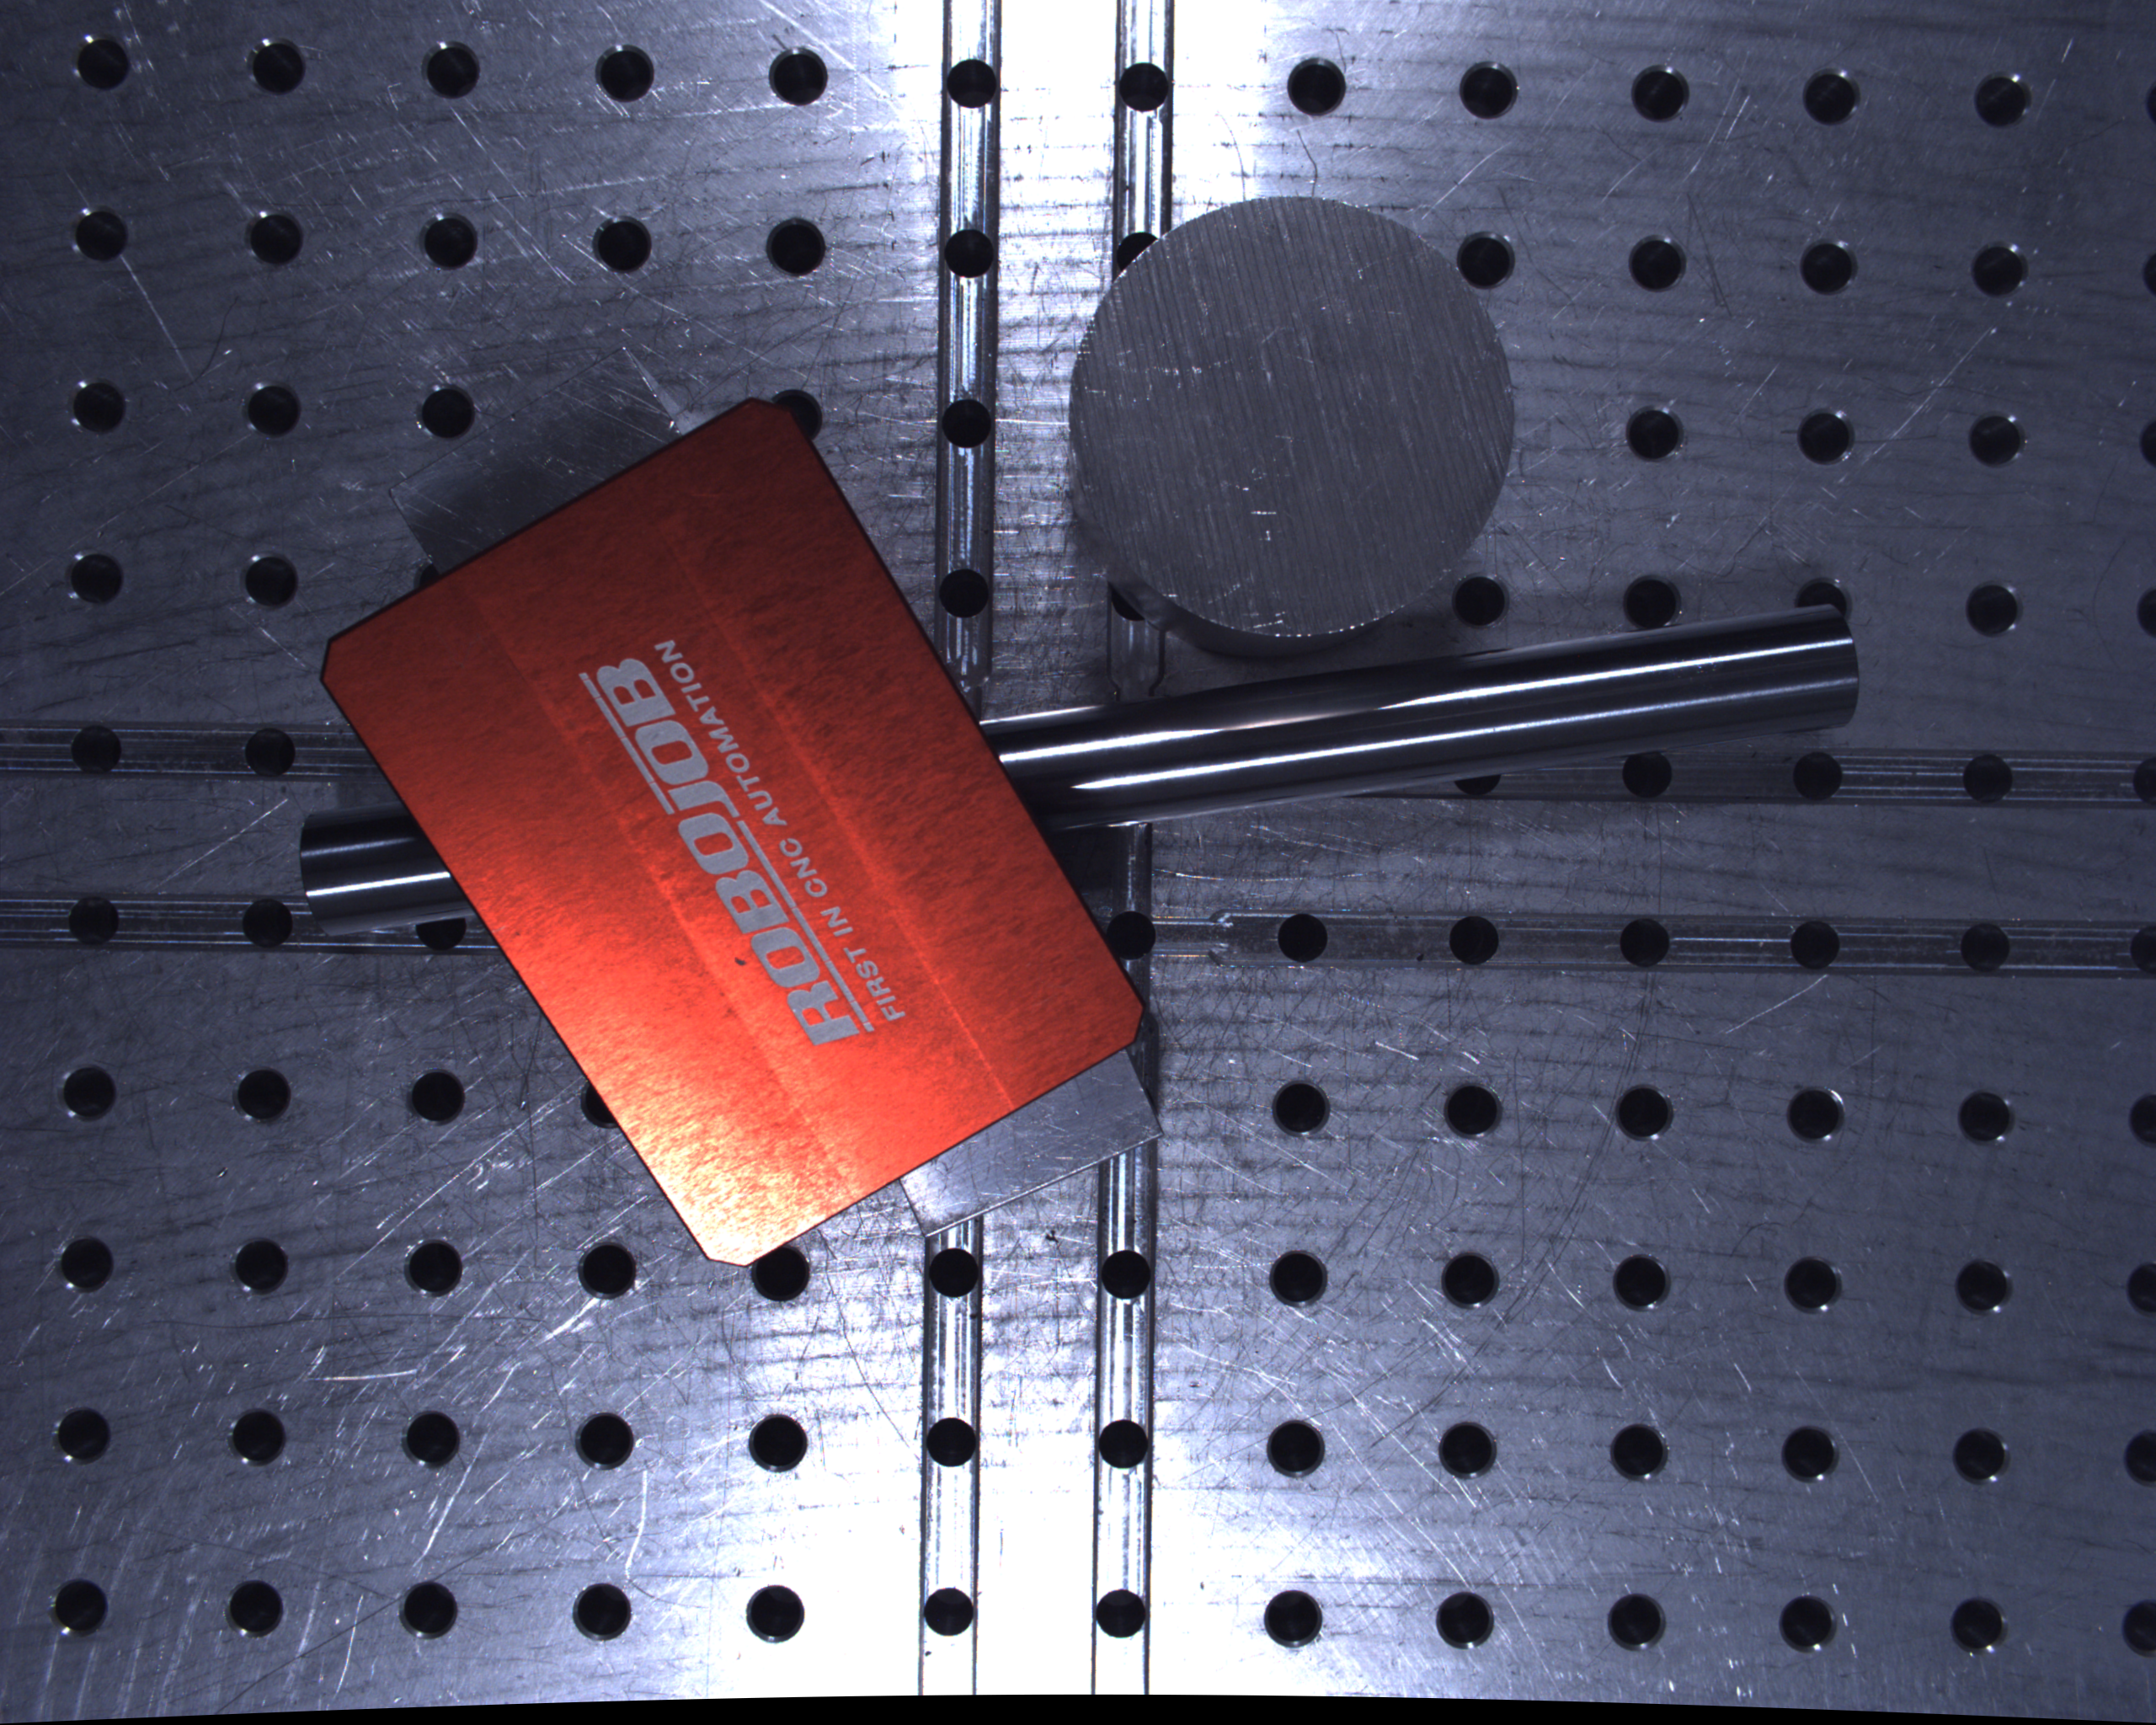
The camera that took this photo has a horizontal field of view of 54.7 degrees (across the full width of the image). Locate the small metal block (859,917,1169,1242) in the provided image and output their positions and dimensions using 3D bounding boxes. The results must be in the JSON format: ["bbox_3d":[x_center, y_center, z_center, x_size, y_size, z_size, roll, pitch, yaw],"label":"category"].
[{"bbox_3d":[-0.016,0.040,0.412,0.050,0.025,0.050,-23,90,-1],"label":"small metal block"}]

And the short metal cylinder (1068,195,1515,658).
[{"bbox_3d":[0.038,-0.081,0.401,0.081,0.050,0.079,0,90,-1],"label":"short metal cylinder"}]

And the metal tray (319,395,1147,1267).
[{"bbox_3d":[-0.058,-0.005,0.371,0.090,0.030,0.130,-31,102,0],"label":"metal tray"}]

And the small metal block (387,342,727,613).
[{"bbox_3d":[-0.096,-0.070,0.399,0.050,0.050,0.025,-32,90,0],"label":"small metal block"}]

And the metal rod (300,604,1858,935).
[{"bbox_3d":[0.001,-0.019,0.413,0.302,0.025,0.025,-8,90,-1],"label":"metal rod"}]
